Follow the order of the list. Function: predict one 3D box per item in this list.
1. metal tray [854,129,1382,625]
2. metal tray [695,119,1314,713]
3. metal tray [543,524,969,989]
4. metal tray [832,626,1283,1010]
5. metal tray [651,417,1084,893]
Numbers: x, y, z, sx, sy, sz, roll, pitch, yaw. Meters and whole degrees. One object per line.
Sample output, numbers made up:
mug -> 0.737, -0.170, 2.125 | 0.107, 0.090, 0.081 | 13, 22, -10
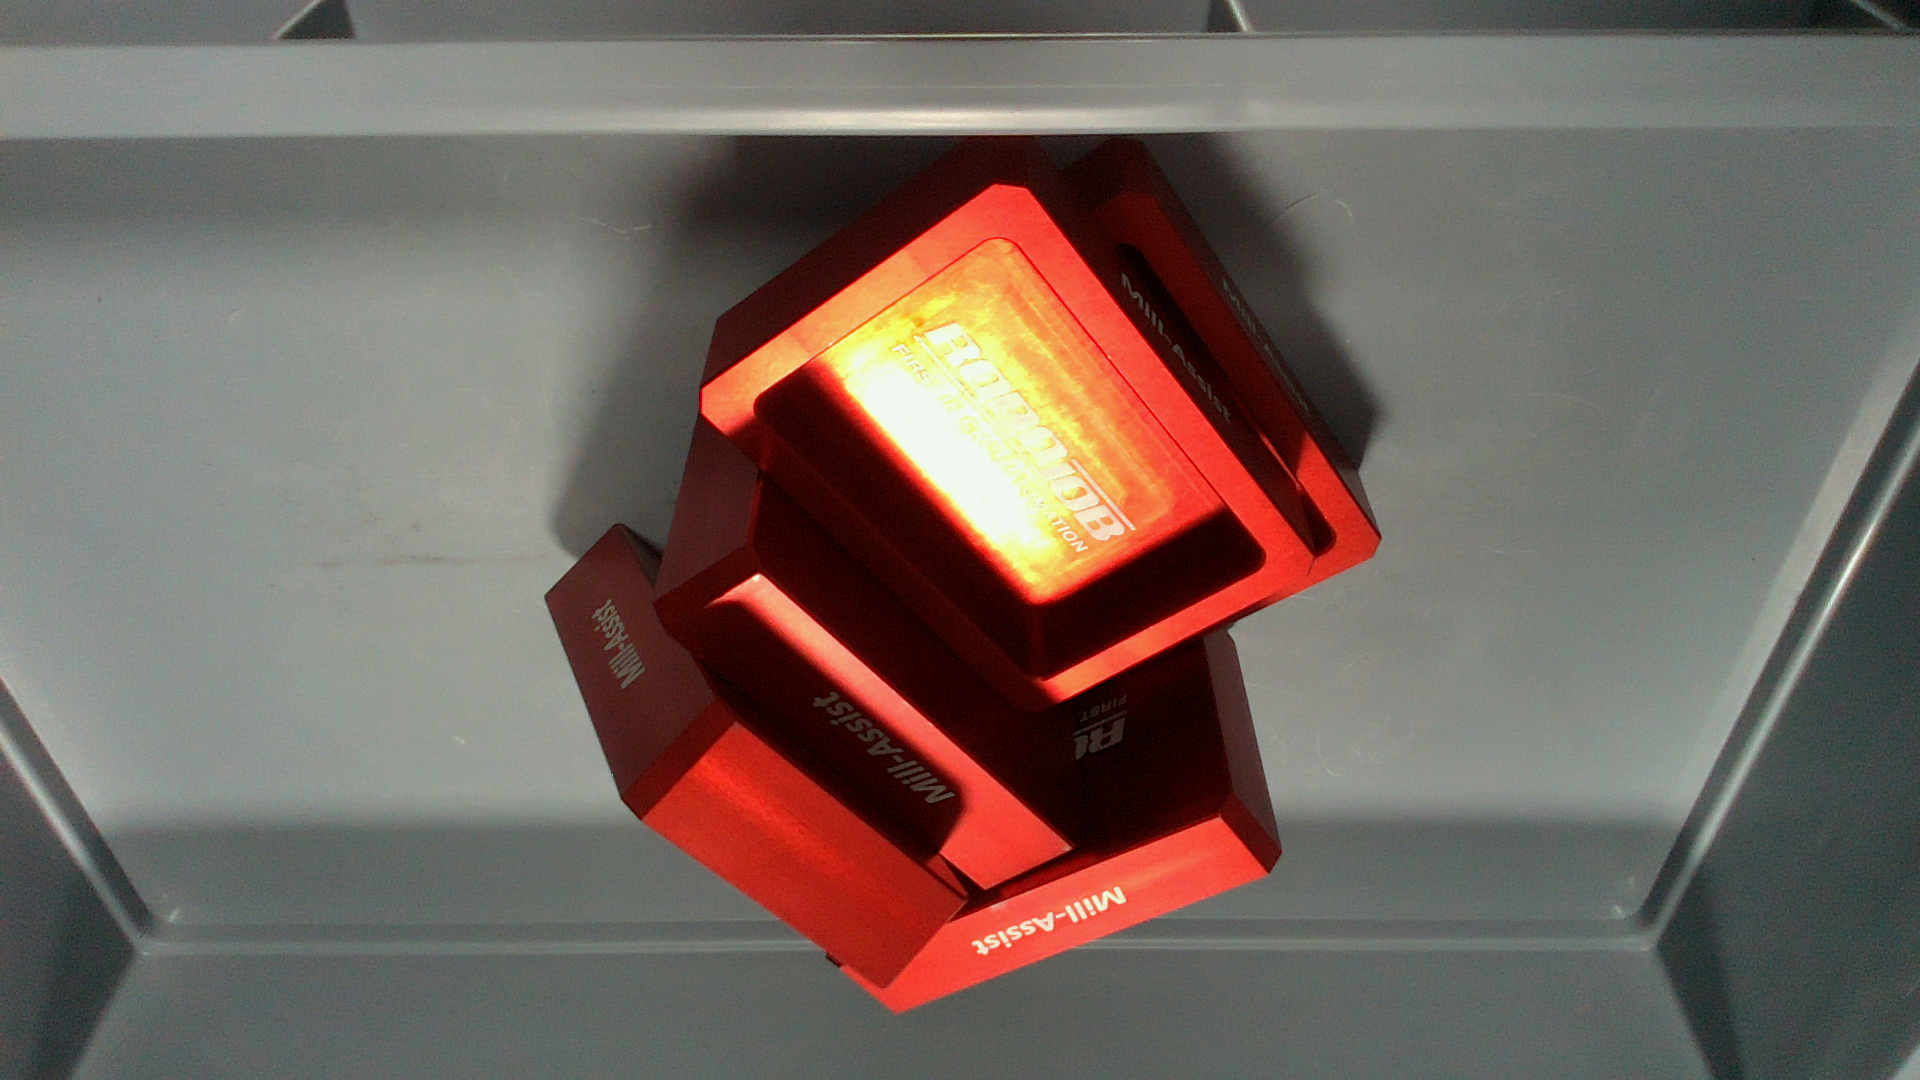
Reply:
metal tray -> 0.042, -0.029, 0.363 | 0.090, 0.030, 0.130 | -27, 124, 22
metal tray -> 0.014, -0.021, 0.328 | 0.090, 0.030, 0.130 | -29, 124, 23
metal tray -> -0.059, 0.052, 0.366 | 0.030, 0.130, 0.090 | -46, 121, -3
metal tray -> 0.024, 0.075, 0.410 | 0.130, 0.090, 0.030 | -26, 125, 20
metal tray -> -0.018, 0.022, 0.364 | 0.030, 0.090, 0.130 | -30, 124, 23
